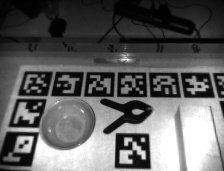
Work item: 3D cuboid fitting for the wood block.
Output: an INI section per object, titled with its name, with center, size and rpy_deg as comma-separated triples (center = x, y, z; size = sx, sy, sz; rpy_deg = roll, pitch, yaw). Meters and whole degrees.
[wood block]
center = 0.228, 0.173, 0.585
size = 0.090, 0.091, 0.205
rpy_deg = 4, 61, 4

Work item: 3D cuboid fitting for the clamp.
[clamp]
center = 0.027, 0.093, 0.678
size = 0.165, 0.037, 0.121
rpy_deg = -8, 60, -4

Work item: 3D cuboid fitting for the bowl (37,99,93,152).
[bowl]
center = -0.136, 0.122, 0.655
size = 0.161, 0.055, 0.161
rpy_deg = 0, 63, 1
